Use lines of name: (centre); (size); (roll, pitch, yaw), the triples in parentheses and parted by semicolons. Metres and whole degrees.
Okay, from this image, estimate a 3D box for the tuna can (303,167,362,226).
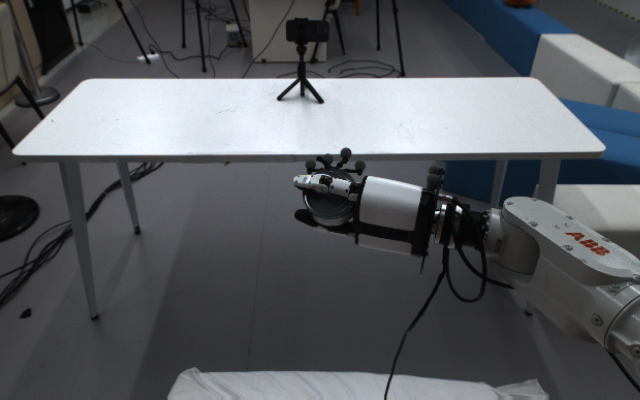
tuna can: (0.019, -0.004, 0.744); (0.085, 0.034, 0.085); (-4, 61, 6)
